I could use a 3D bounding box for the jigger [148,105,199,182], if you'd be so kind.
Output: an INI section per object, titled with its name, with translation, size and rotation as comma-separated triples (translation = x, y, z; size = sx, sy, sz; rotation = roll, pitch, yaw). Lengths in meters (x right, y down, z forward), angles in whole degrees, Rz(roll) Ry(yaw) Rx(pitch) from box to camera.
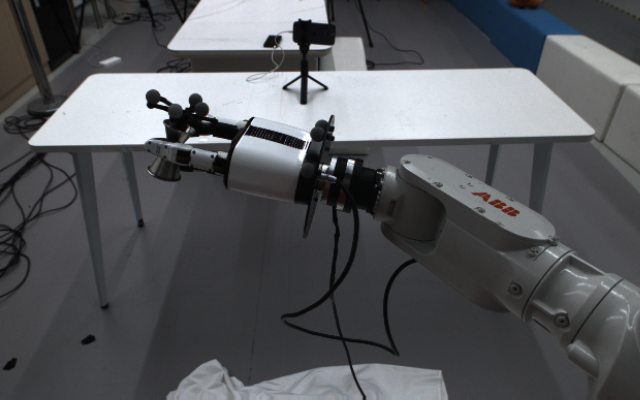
[jigger]
translation = -0.187, -0.062, 0.610
size = 0.043, 0.071, 0.043
rotation = 22, 20, -8
